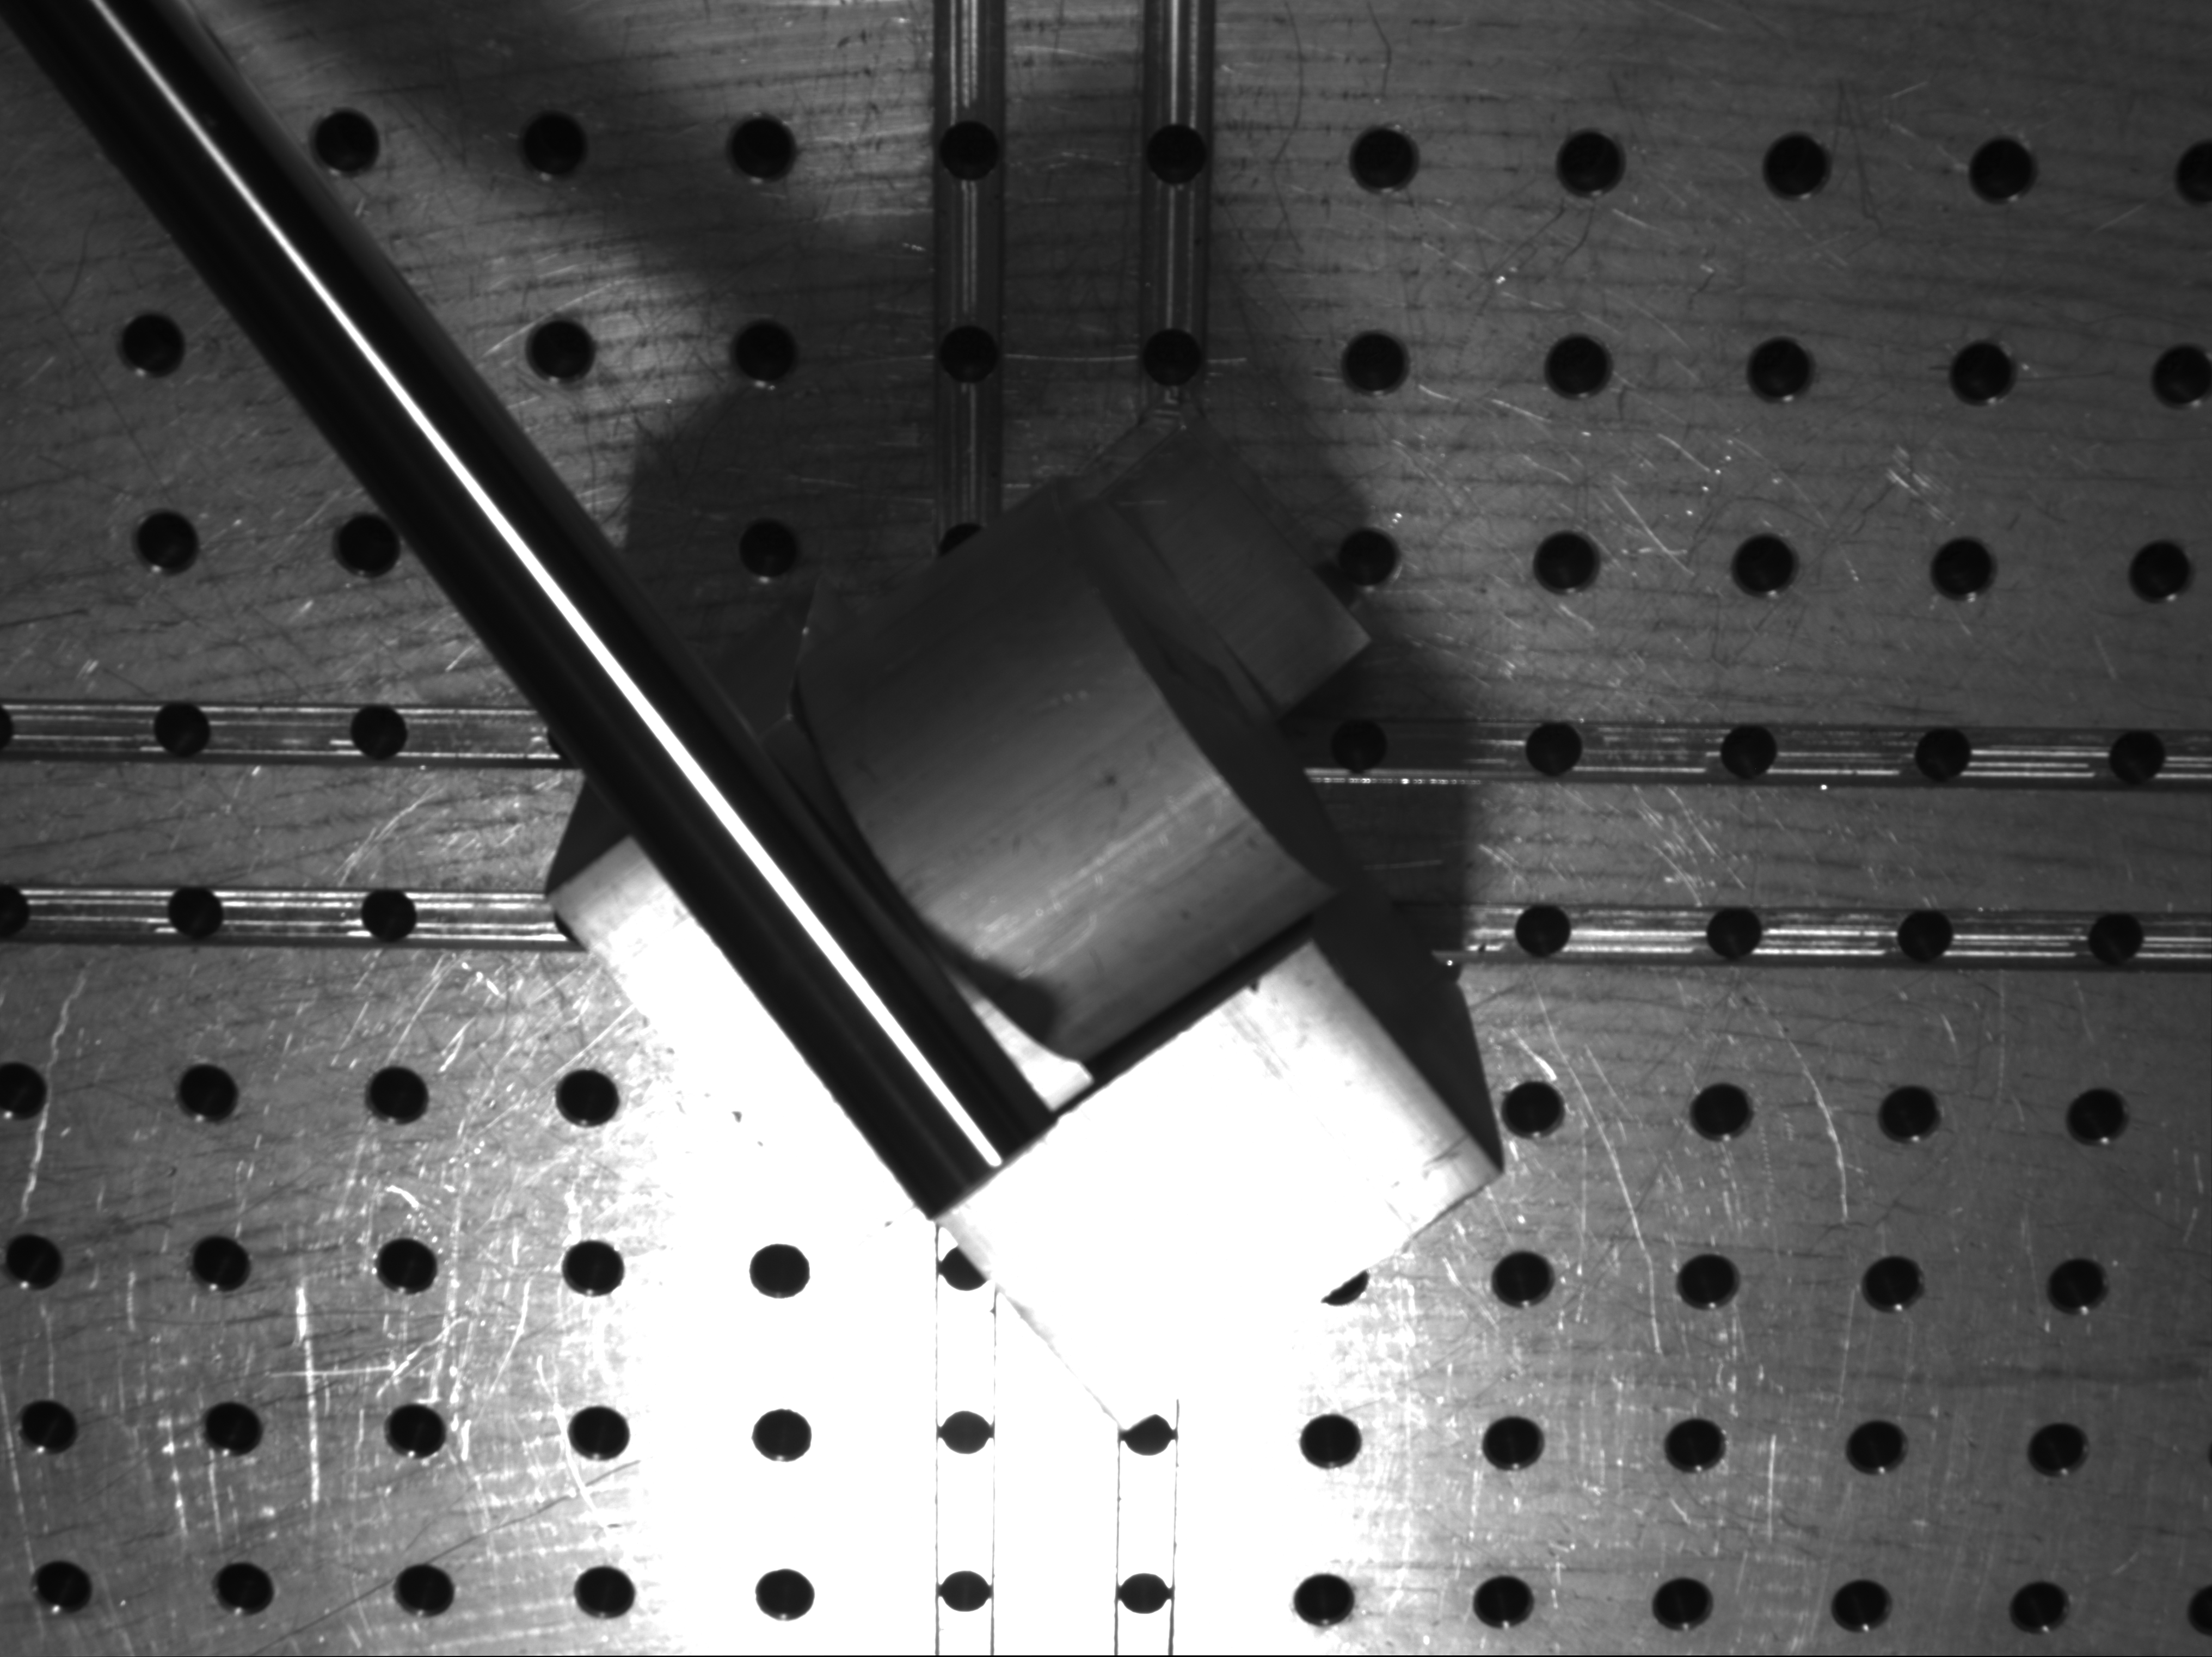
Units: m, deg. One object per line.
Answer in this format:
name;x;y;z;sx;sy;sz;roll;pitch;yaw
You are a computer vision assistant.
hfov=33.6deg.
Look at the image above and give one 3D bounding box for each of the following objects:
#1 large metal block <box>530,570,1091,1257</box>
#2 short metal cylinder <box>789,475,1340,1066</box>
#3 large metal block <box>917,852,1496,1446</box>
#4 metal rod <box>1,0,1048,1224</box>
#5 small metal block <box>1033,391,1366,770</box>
large metal block;-0.047;0.012;0.621;0.050;0.080;0.080;-36;106;12
short metal cylinder;-0.006;-0.009;0.586;0.050;0.080;0.080;-35;107;11
large metal block;0.016;0.048;0.632;0.080;0.080;0.050;-36;106;12
metal rod;-0.110;-0.066;0.565;0.025;0.025;0.300;-39;84;13
small metal block;0.009;-0.038;0.632;0.050;0.025;0.050;-40;106;13
